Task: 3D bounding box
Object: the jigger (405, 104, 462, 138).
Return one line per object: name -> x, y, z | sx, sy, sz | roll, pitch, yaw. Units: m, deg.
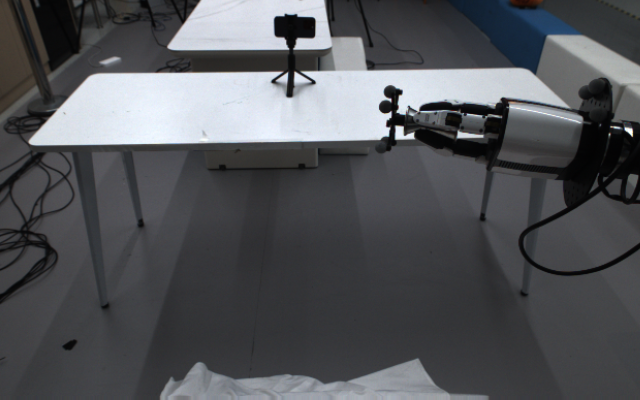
jigger -> 0.153, -0.104, 0.637 | 0.071, 0.043, 0.043 | 8, 35, 15
